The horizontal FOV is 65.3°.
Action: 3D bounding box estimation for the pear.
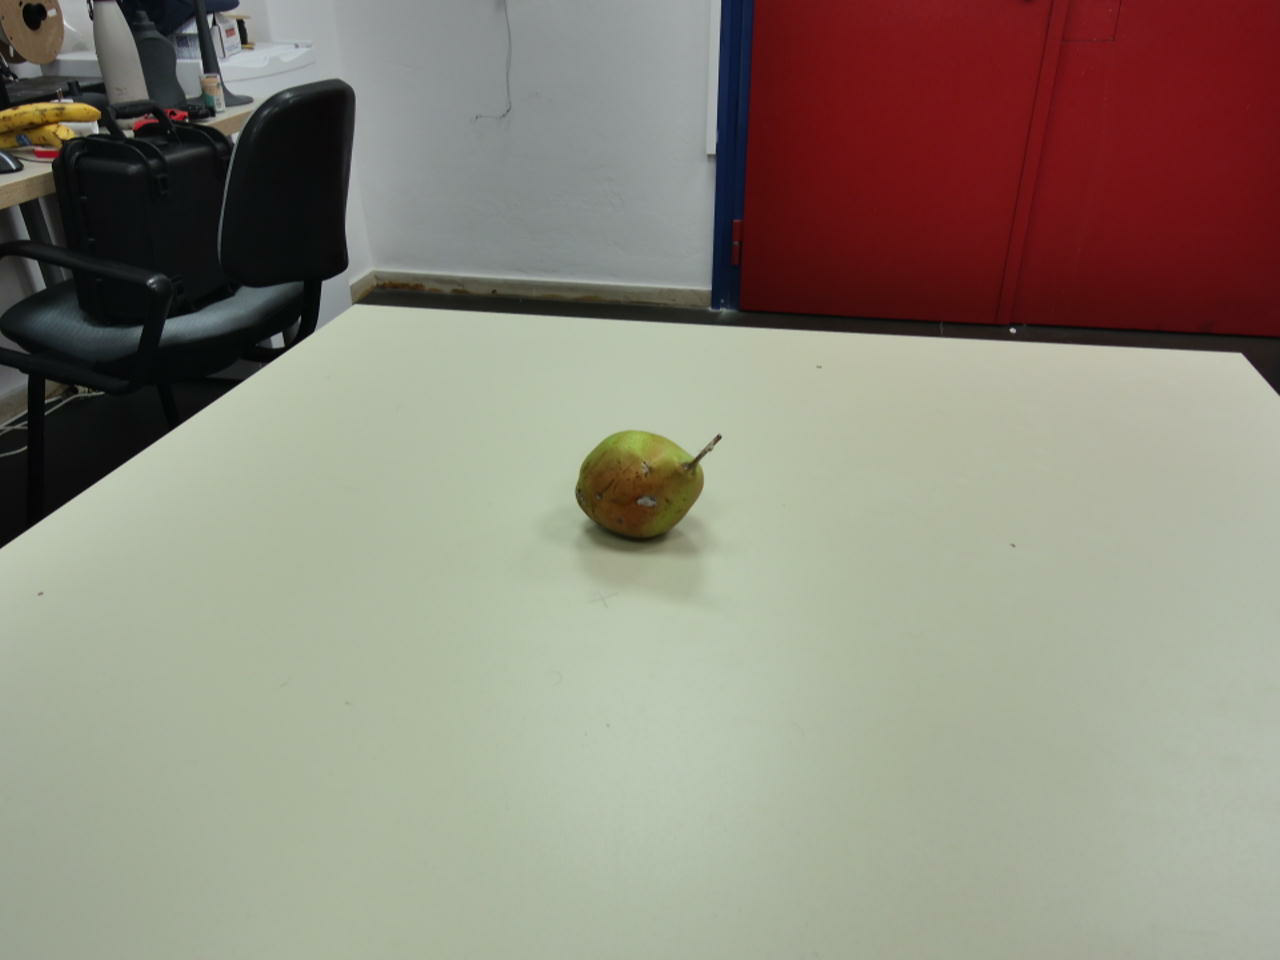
[{"bbox_3d":[-0.001,0.000,0.580,0.068,0.069,0.070,-13,29,-24],"label":"pear"}]
